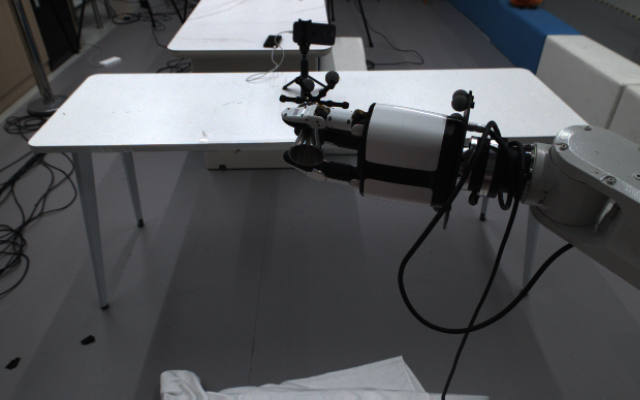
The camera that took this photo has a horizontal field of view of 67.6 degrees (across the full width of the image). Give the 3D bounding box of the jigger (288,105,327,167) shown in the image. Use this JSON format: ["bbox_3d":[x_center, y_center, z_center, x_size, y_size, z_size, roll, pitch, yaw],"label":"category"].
[{"bbox_3d":[-0.015,-0.083,0.596,0.043,0.043,0.071,5,60,4],"label":"jigger"}]
